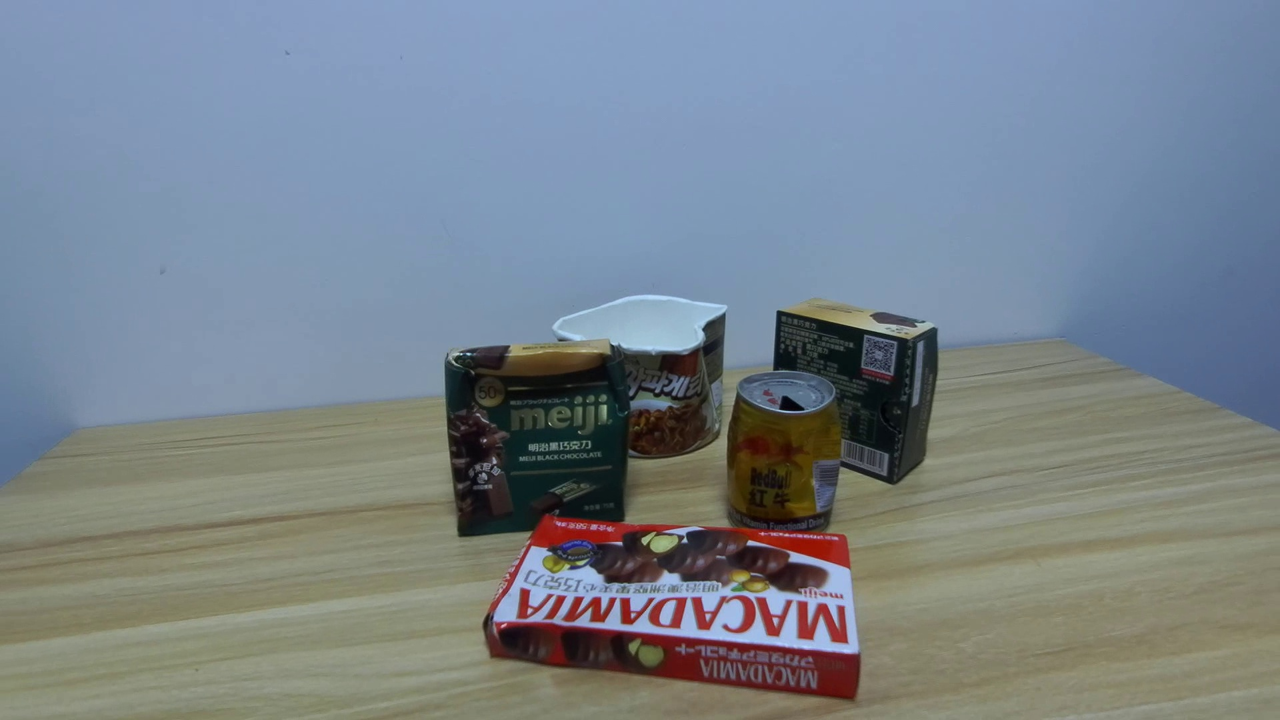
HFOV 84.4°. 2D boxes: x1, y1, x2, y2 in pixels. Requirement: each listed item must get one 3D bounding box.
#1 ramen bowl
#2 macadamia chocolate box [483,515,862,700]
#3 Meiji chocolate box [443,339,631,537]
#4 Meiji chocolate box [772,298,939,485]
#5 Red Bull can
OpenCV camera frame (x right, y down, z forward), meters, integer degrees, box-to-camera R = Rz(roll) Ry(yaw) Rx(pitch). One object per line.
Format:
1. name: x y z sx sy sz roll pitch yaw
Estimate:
1. ramen bowl: -0.001 0.010 0.567 0.133 0.097 0.113 4 23 12
2. macadamia chocolate box: 0.019 0.122 0.373 0.183 0.028 0.106 2 20 11
3. Meiji chocolate box: -0.065 0.047 0.459 0.117 0.117 0.051 -4 14 -5
4. Meiji chocolate box: 0.157 0.019 0.520 0.112 0.111 0.058 17 26 42
5. Red Bull can: 0.088 0.059 0.436 0.072 0.092 0.072 -1 22 1
